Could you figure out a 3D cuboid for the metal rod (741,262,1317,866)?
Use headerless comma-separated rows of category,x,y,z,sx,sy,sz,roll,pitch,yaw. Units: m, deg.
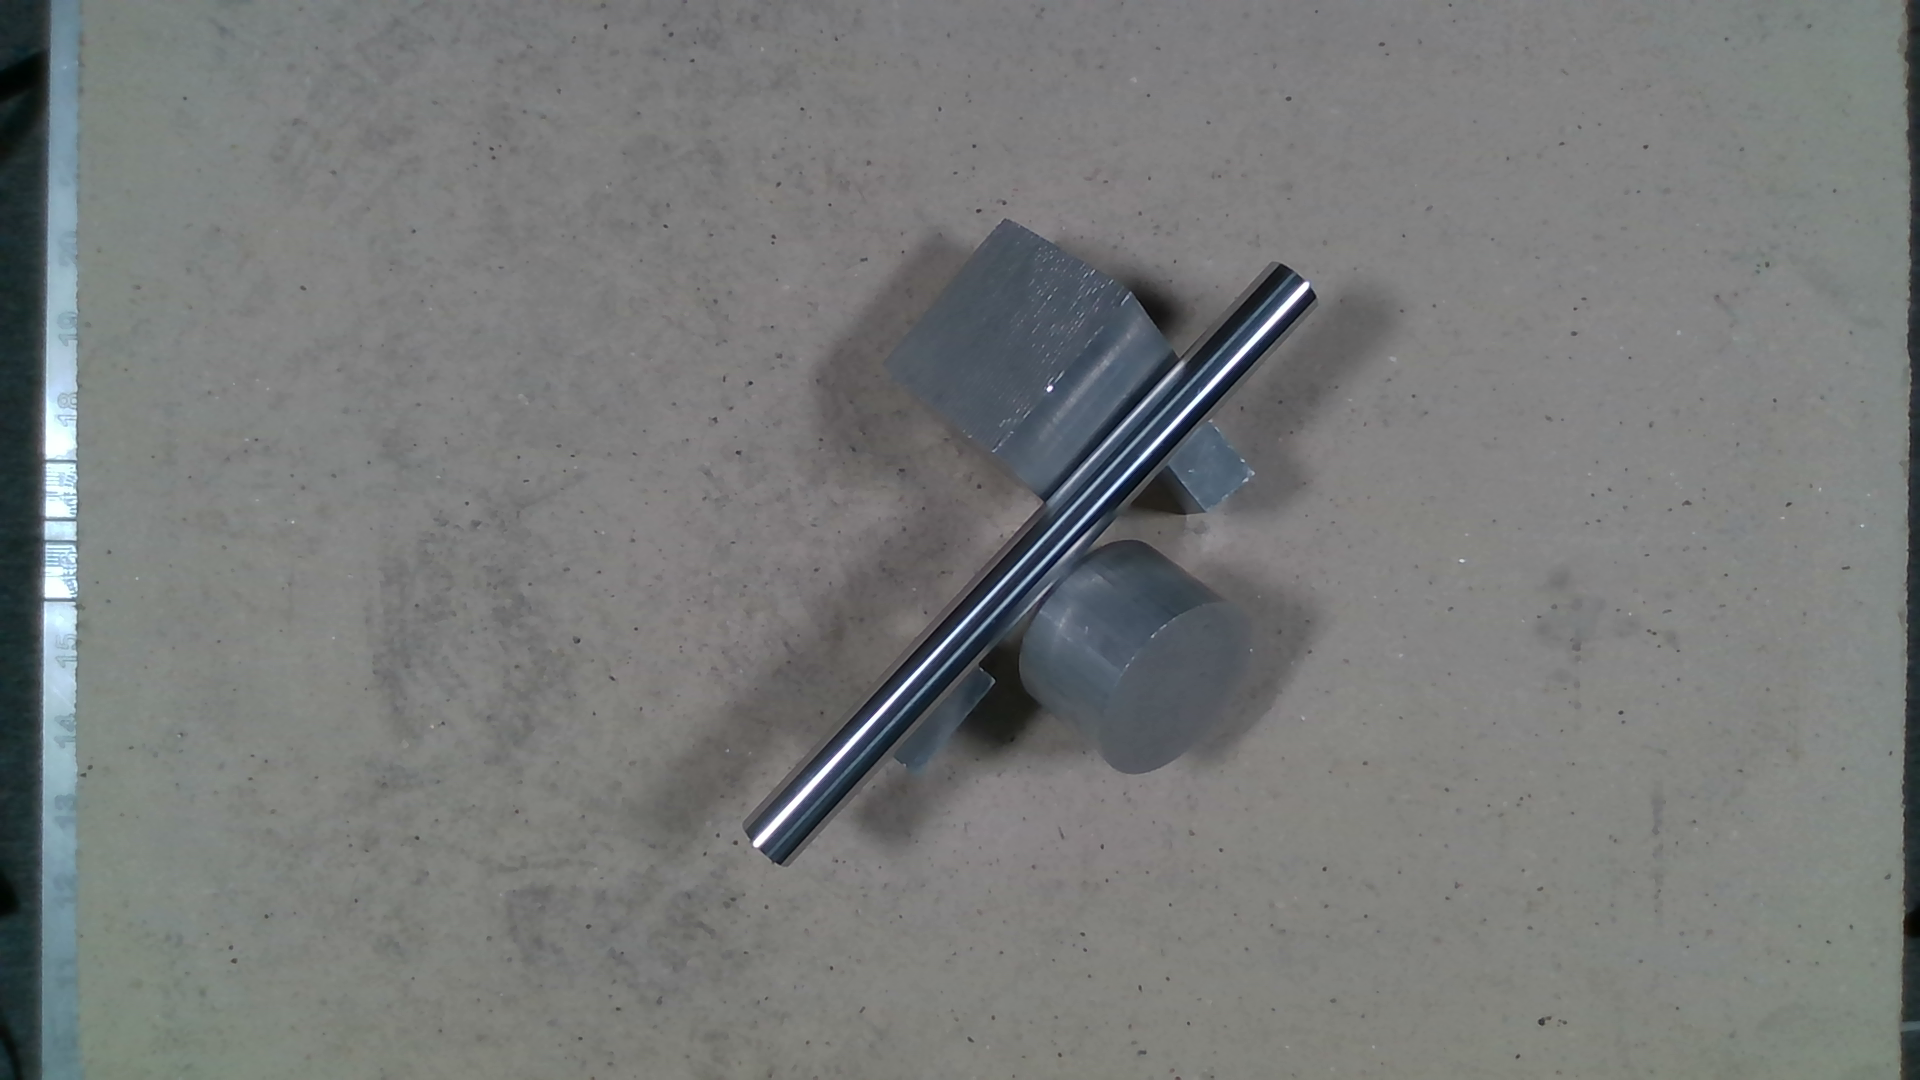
metal rod,0.027,0.010,0.537,0.025,0.025,0.300,43,90,0

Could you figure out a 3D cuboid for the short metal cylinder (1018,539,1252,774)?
short metal cylinder,0.071,0.047,0.554,0.080,0.080,0.050,-51,49,0

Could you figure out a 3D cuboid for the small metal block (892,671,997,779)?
small metal block,-0.011,0.068,0.572,0.025,0.050,0.050,41,90,0

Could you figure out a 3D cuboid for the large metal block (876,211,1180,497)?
large metal block,0.027,-0.074,0.556,0.080,0.050,0.080,-50,50,1

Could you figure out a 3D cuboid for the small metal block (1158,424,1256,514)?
small metal block,0.093,-0.038,0.575,0.025,0.050,0.050,-39,90,0
